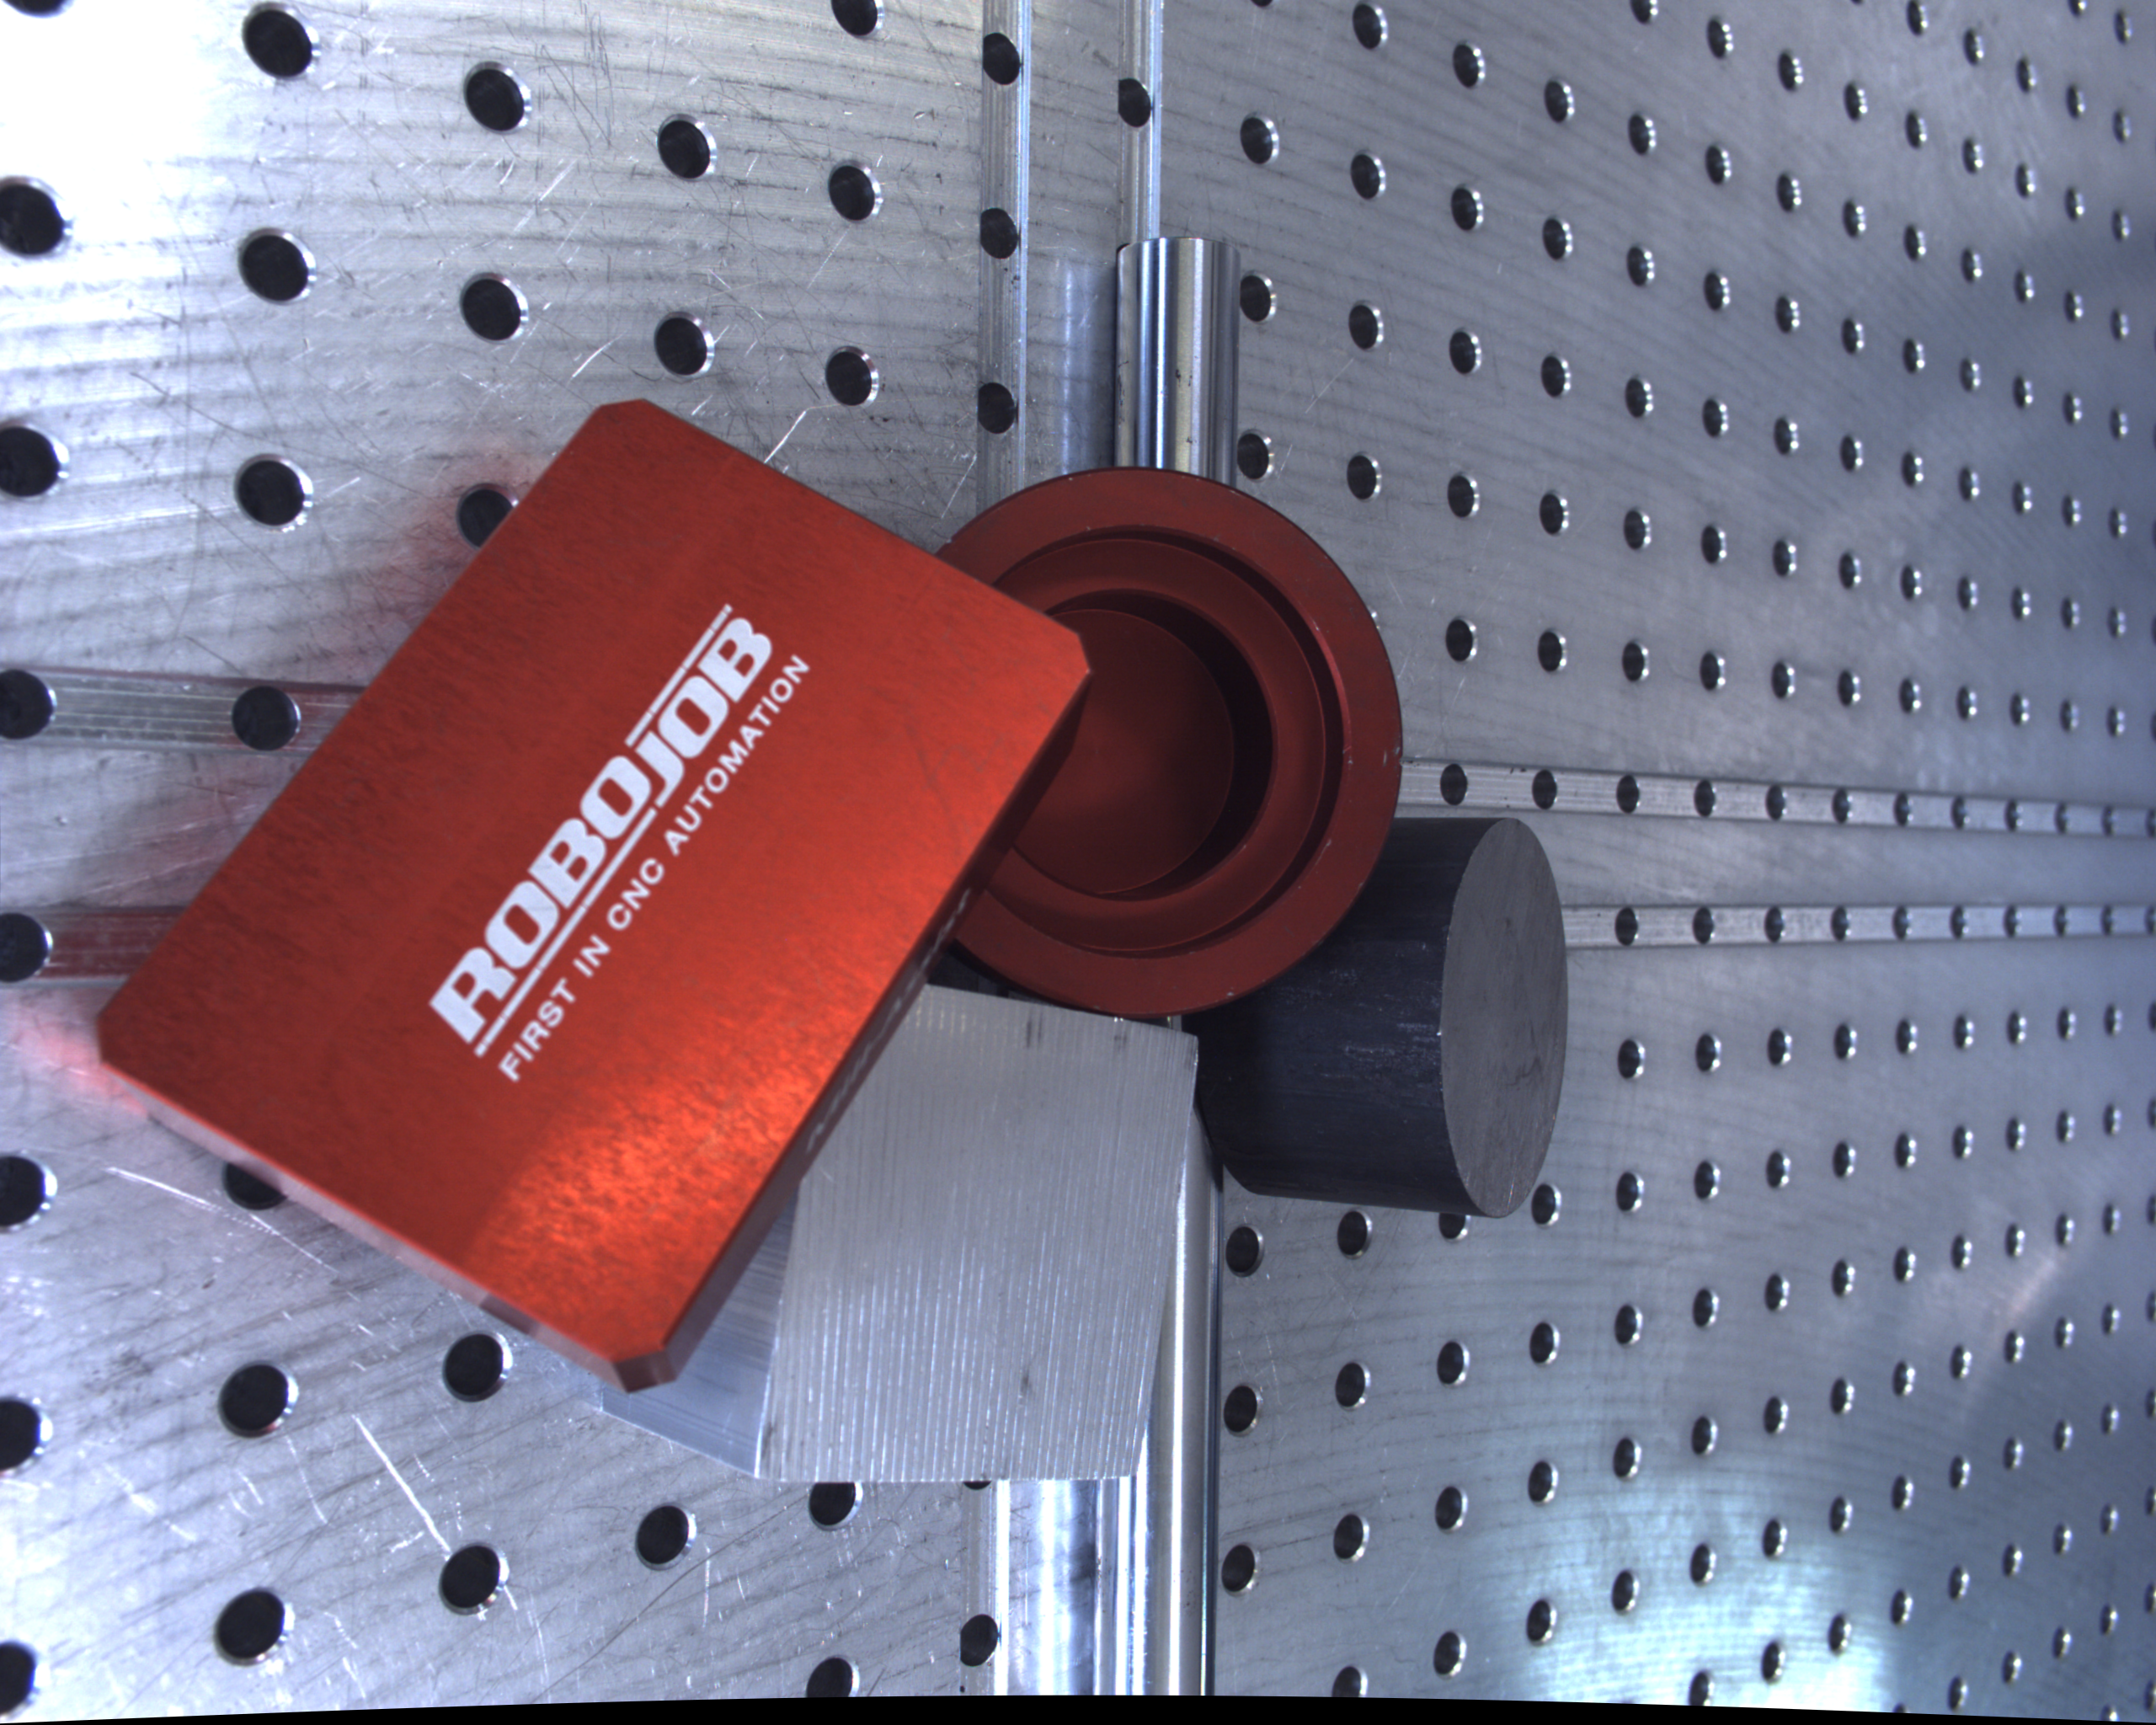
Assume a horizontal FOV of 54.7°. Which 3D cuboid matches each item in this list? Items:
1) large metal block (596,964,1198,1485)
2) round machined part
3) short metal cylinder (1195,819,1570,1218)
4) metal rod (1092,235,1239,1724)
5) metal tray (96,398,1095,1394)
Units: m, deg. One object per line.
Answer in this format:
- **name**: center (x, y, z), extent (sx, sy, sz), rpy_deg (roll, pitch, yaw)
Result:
- **large metal block**: center (-0.030, 0.063, 0.368), extent (0.081, 0.050, 0.080), rpy_deg (13, 82, -39)
- **round machined part**: center (0.007, -0.021, 0.387), extent (0.099, 0.042, 0.097), rpy_deg (0, 89, -15)
- **short metal cylinder**: center (0.065, 0.031, 0.430), extent (0.080, 0.050, 0.079), rpy_deg (-1, 91, -60)
- **metal rod**: center (0.018, 0.025, 0.425), extent (0.025, 0.025, 0.298), rpy_deg (2, 89, -40)
- **metal tray**: center (-0.067, 0.001, 0.317), extent (0.090, 0.030, 0.130), rpy_deg (29, 67, 5)
